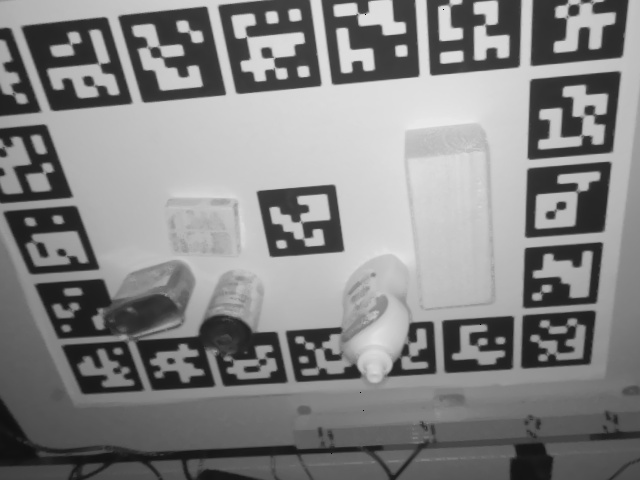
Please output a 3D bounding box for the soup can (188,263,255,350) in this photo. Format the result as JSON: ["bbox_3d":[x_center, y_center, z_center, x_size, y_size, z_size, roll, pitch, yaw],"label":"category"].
[{"bbox_3d":[-0.122,0.082,0.881,0.068,0.103,0.067,1,118,3],"label":"soup can"}]

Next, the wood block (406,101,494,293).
[{"bbox_3d":[0.152,-0.047,0.810,0.091,0.091,0.205,-4,123,8],"label":"wood block"}]

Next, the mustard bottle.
[{"bbox_3d":[0.066,0.075,0.831,0.095,0.193,0.058,-28,115,20],"label":"mustard bottle"}]

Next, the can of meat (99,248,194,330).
[{"bbox_3d":[-0.221,0.061,0.896,0.101,0.084,0.057,-16,116,15],"label":"can of meat"}]

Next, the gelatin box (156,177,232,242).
[{"bbox_3d":[-0.156,-0.037,0.862,0.089,0.030,0.072,3,118,-1],"label":"gelatin box"}]
